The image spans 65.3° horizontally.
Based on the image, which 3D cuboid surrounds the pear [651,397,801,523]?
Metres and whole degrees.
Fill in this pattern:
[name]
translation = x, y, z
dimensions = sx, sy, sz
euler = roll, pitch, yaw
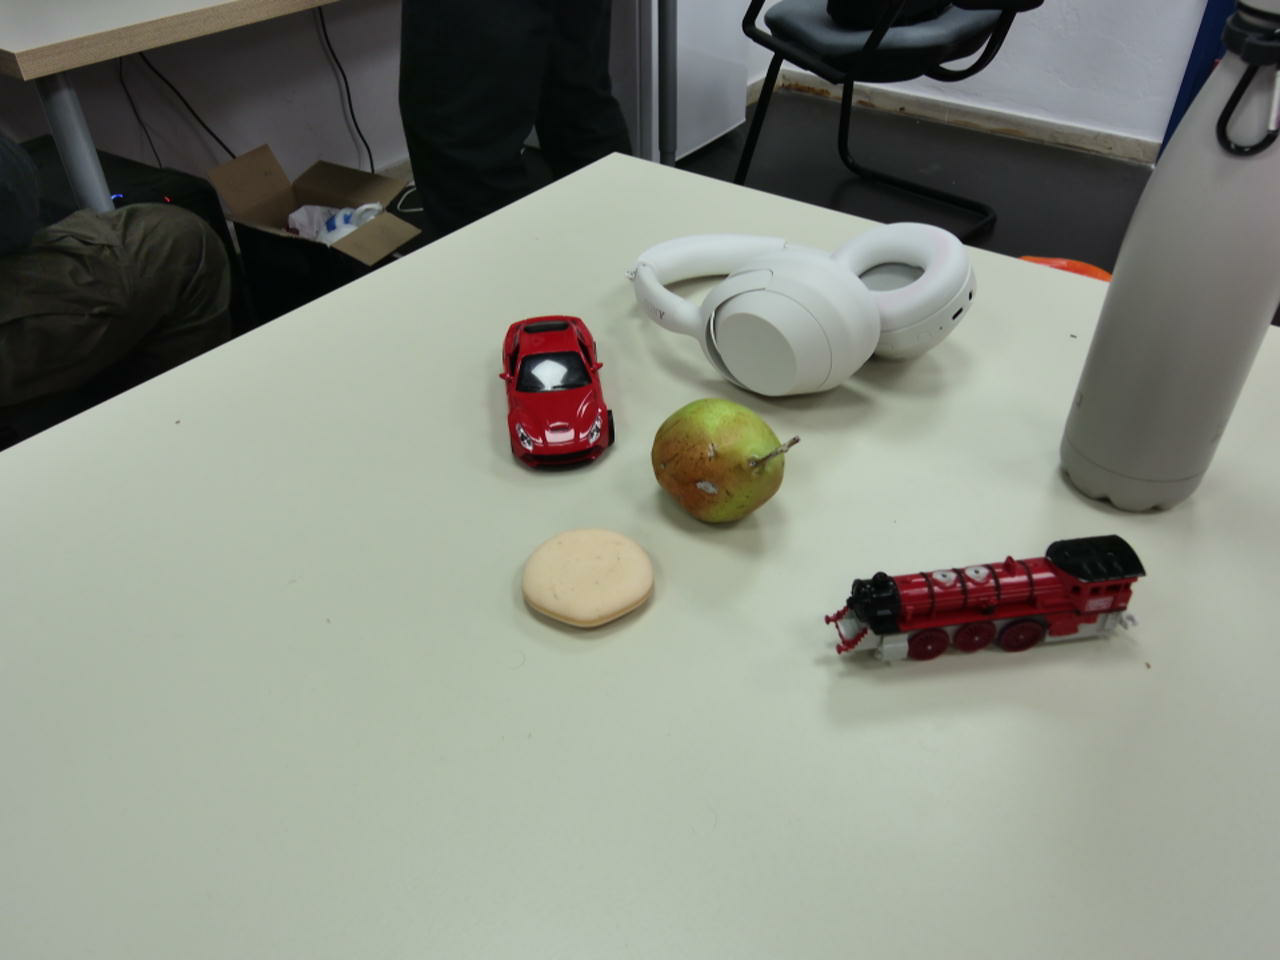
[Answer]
[pear]
translation = 0.040, -0.012, 0.515
dimensions = 0.068, 0.069, 0.070
euler = 0, 37, 0
